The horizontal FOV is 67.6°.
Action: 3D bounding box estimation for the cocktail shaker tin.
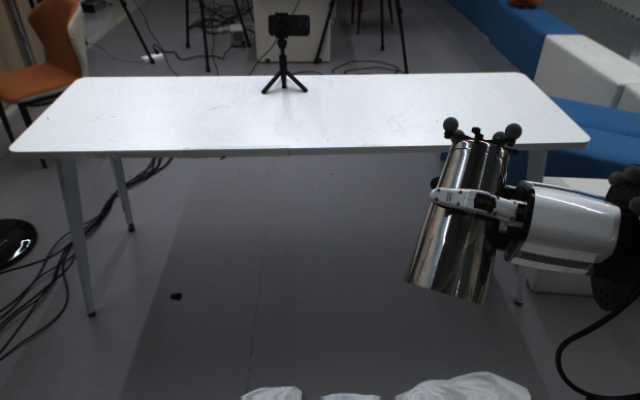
[{"bbox_3d":[0.162,0.022,0.550,0.093,0.170,0.093,16,-6,2],"label":"cocktail shaker tin"}]
